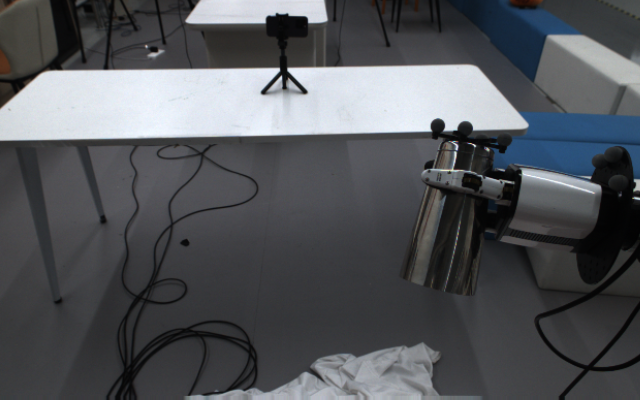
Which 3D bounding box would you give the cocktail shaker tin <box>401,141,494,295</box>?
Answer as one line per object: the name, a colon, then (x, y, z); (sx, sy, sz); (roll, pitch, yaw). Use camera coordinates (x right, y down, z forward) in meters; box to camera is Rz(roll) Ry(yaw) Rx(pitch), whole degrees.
cocktail shaker tin: (0.163, 0.017, 0.587); (0.093, 0.170, 0.093); (13, 1, 0)
